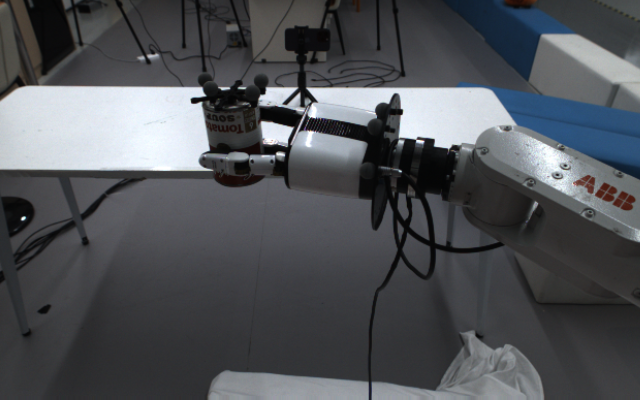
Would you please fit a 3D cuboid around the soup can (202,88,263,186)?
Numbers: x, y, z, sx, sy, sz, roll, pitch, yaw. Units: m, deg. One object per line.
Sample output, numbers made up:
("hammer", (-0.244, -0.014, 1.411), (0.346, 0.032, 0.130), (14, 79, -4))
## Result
("soup can", (-0.102, -0.076, 0.595), (0.067, 0.101, 0.067), (-2, 34, 1))
